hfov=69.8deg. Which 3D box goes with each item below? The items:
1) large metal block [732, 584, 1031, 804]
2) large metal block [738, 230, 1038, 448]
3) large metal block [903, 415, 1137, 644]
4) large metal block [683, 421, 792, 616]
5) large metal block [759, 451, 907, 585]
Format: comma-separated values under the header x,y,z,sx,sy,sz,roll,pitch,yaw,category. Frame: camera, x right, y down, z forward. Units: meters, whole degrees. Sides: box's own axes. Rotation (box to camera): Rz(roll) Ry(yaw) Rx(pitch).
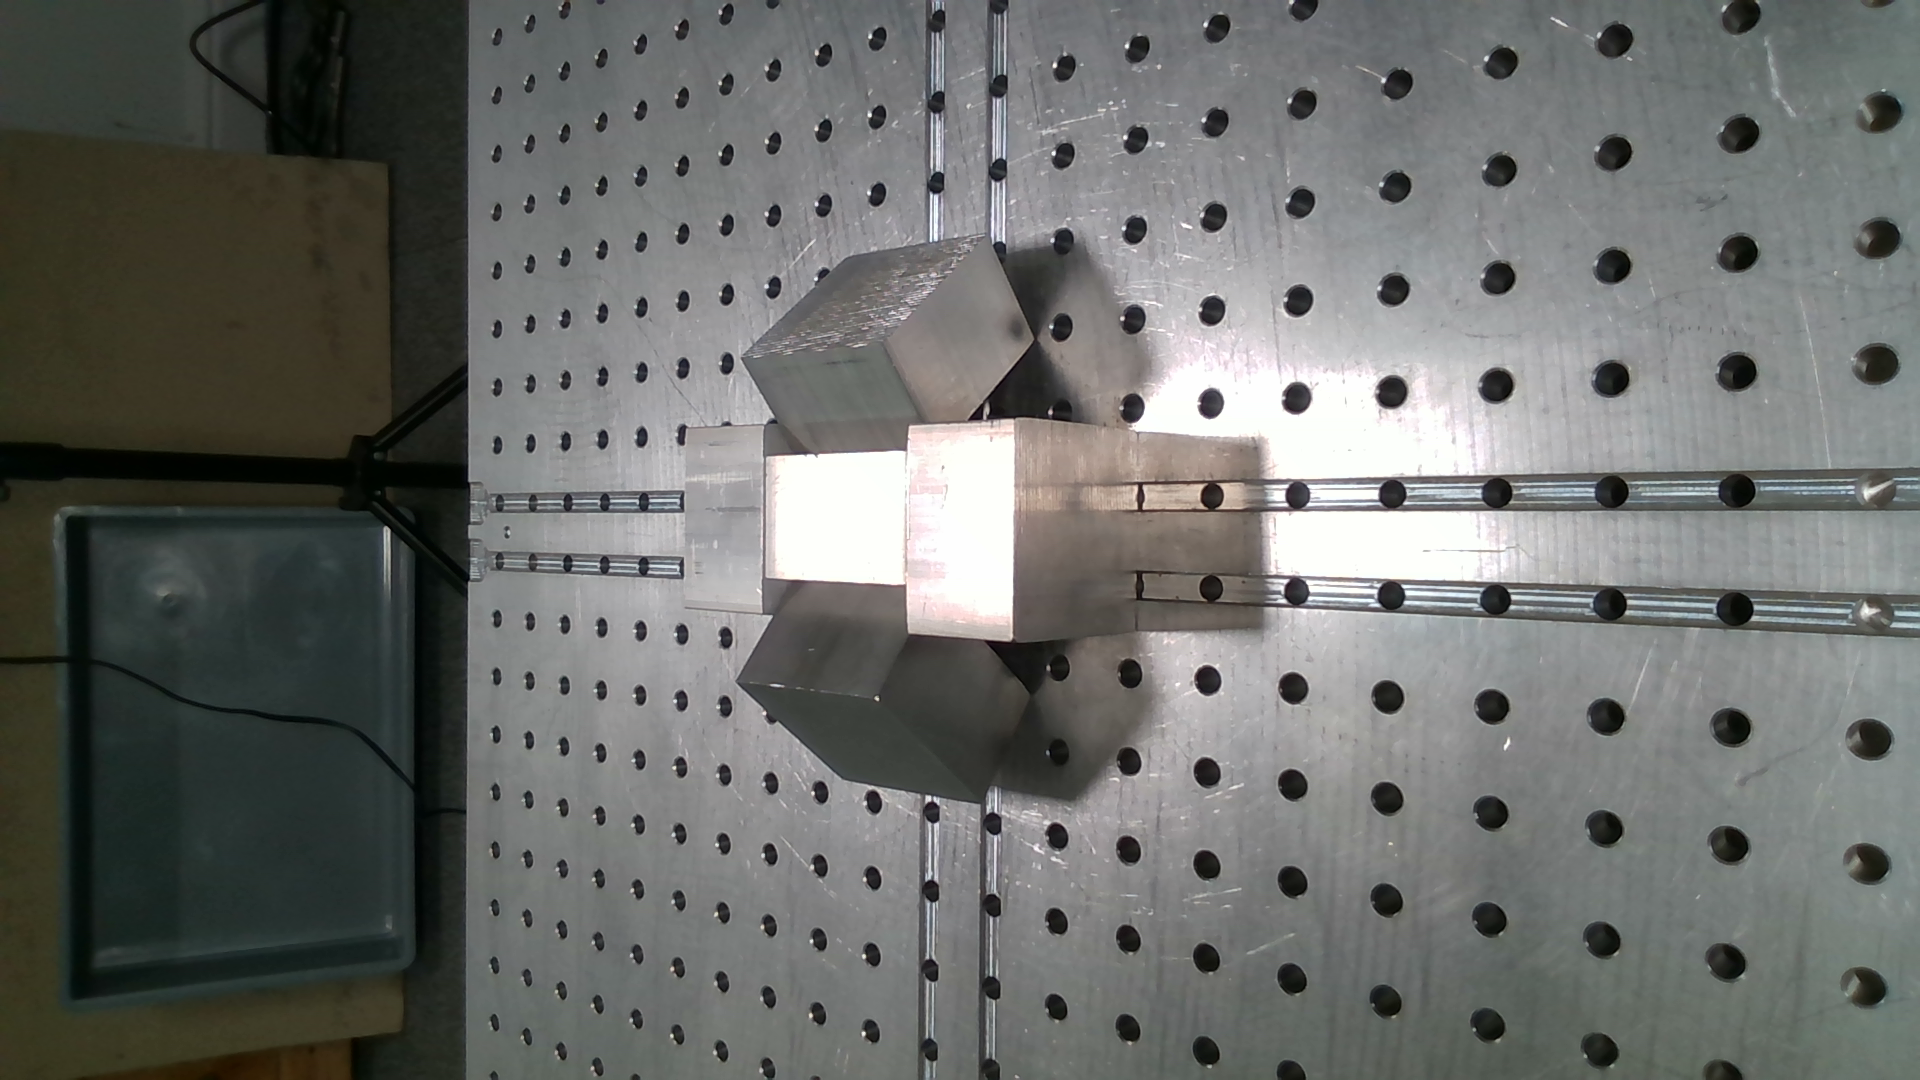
x,y,z,sx,sy,sz,roll,pitch,yaw,category
-0.031,0.061,0.565,0.080,0.080,0.050,1,54,40,large metal block
-0.029,-0.079,0.564,0.080,0.080,0.050,1,130,41,large metal block
0.024,-0.004,0.527,0.050,0.080,0.080,1,91,40,large metal block
-0.075,-0.009,0.611,0.050,0.080,0.080,1,91,40,large metal block
-0.026,-0.009,0.570,0.080,0.080,0.050,1,91,40,large metal block
